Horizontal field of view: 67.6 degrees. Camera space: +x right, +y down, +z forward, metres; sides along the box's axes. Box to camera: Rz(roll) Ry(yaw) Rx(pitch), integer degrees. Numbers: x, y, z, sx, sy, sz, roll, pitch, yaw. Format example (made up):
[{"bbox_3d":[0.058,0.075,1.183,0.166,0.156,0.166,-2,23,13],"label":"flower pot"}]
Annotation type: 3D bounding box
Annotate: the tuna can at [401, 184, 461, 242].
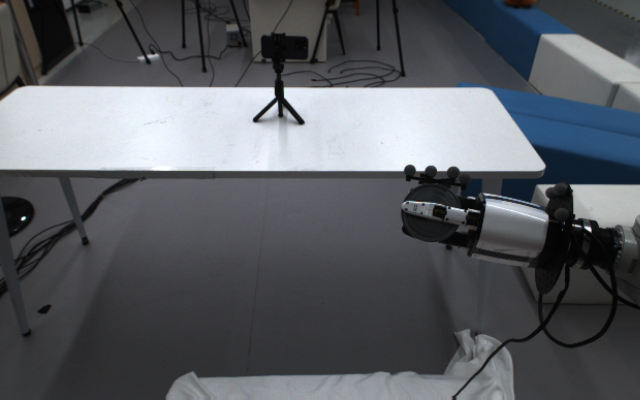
[{"bbox_3d":[0.162,0.015,0.707,0.085,0.085,0.034,10,-7,12],"label":"tuna can"}]
